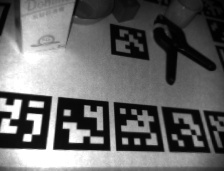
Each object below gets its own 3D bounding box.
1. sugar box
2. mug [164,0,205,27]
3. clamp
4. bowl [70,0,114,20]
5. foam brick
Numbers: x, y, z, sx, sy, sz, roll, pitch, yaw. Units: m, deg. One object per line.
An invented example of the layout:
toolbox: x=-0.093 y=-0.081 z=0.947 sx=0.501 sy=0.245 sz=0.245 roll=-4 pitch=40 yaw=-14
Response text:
sugar box: x=-0.135 y=-0.138 z=0.405 sx=0.094 sy=0.176 sz=0.045 roll=-16 pitch=71 yaw=-26
mug: x=0.200 y=-0.231 z=0.626 sx=0.117 sy=0.081 sz=0.093 roll=32 pitch=58 yaw=-5
clamp: x=0.163 y=-0.115 z=0.574 sx=0.167 sy=0.036 sz=0.201 roll=-15 pitch=70 yaw=-23
bowl: x=-0.079 y=-0.218 z=0.537 sx=0.163 sy=0.055 sz=0.161 roll=9 pitch=61 yaw=-16
foam brick: x=0.031 y=-0.222 z=0.588 sx=0.053 sy=0.051 sz=0.077 roll=-19 pitch=72 yaw=-25
